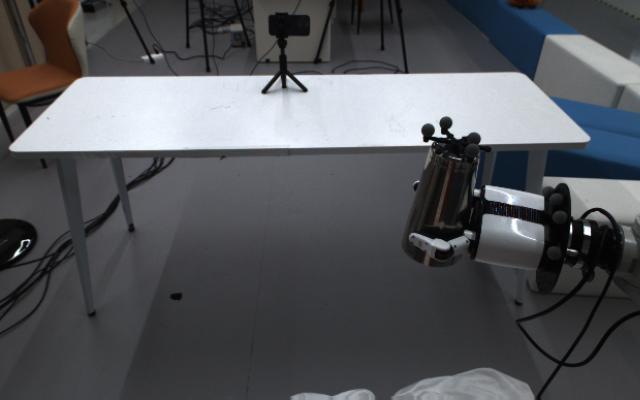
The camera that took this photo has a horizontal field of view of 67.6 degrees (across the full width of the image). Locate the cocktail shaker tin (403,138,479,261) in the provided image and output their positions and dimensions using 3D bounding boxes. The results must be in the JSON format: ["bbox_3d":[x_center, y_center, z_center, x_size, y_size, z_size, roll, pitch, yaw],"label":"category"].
[{"bbox_3d":[0.176,0.000,0.692,0.093,0.170,0.093,3,35,-2],"label":"cocktail shaker tin"}]
